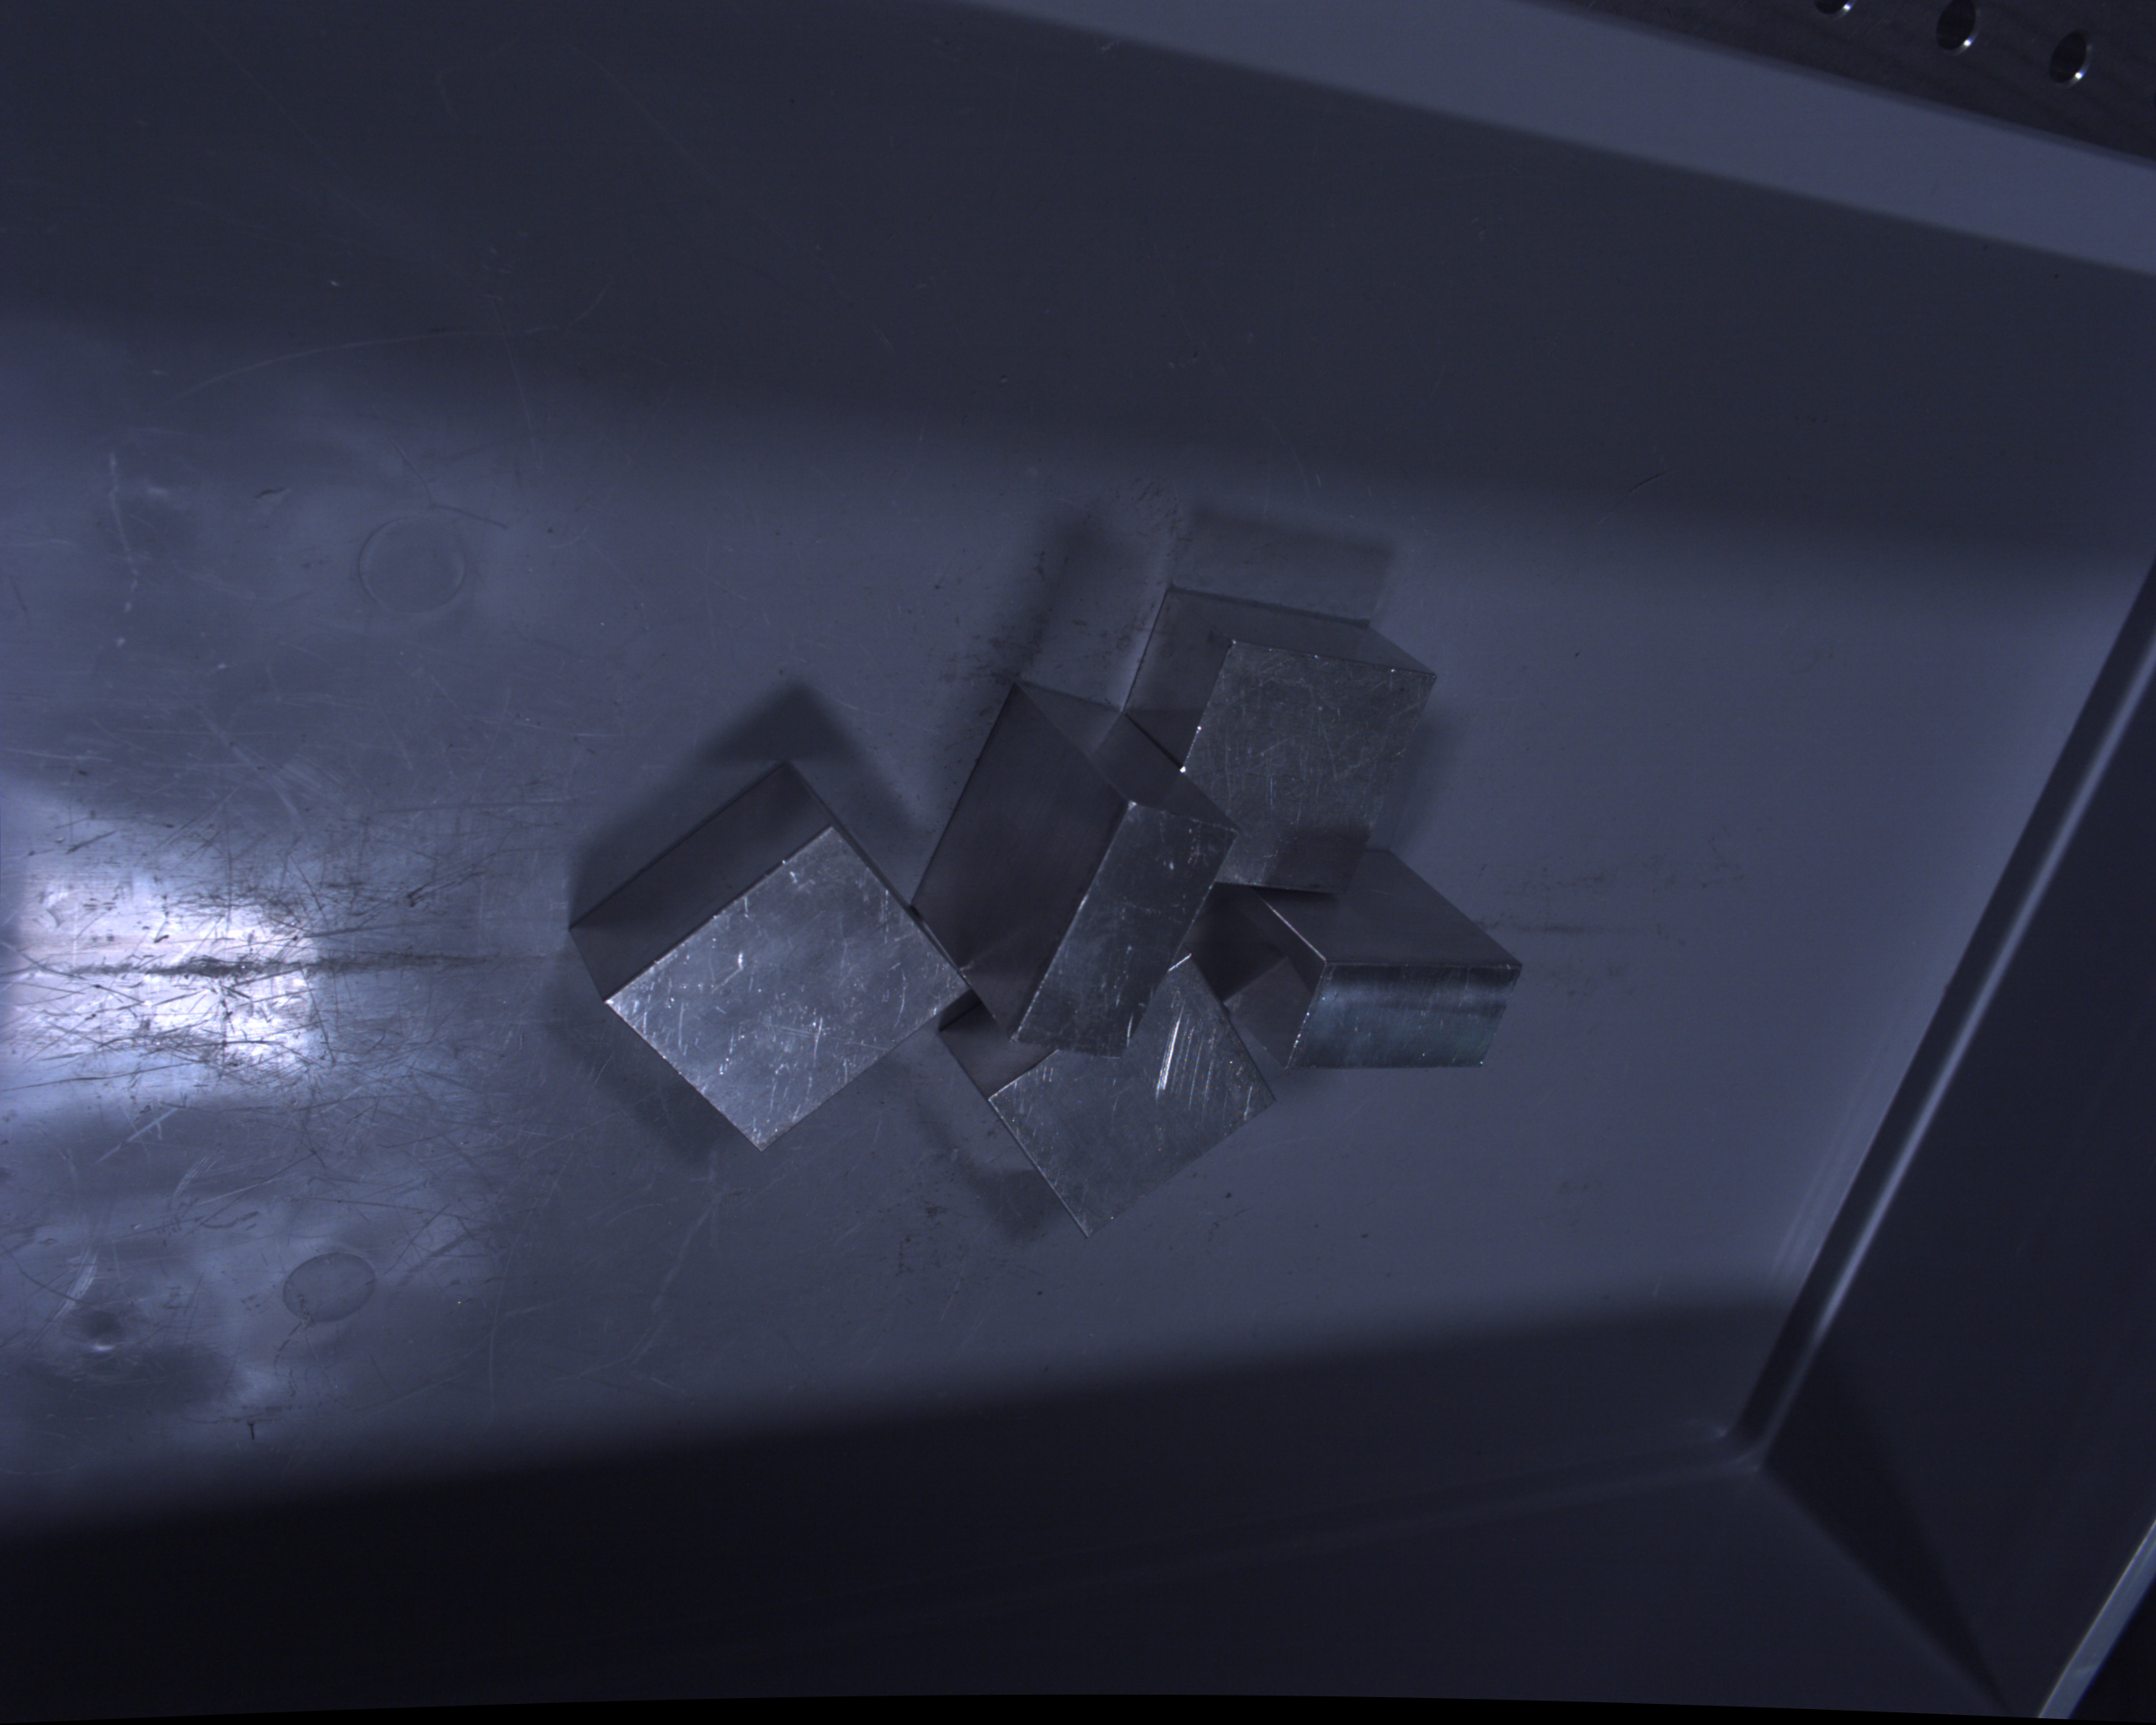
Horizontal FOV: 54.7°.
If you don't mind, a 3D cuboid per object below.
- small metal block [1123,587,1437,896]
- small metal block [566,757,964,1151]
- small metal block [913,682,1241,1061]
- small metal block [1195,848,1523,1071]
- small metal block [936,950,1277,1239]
[{"bbox_3d":[0.035,-0.023,0.413,0.050,0.025,0.050,6,115,-32],"label":"small metal block"},{"bbox_3d":[-0.057,0.018,0.387,0.050,0.025,0.050,-38,130,-3],"label":"small metal block"},{"bbox_3d":[-0.002,0.001,0.391,0.025,0.050,0.050,13,111,-34],"label":"small metal block"},{"bbox_3d":[0.054,0.019,0.433,0.050,0.050,0.025,3,117,-30],"label":"small metal block"},{"bbox_3d":[0.007,0.043,0.438,0.050,0.025,0.050,-35,129,-5],"label":"small metal block"}]
